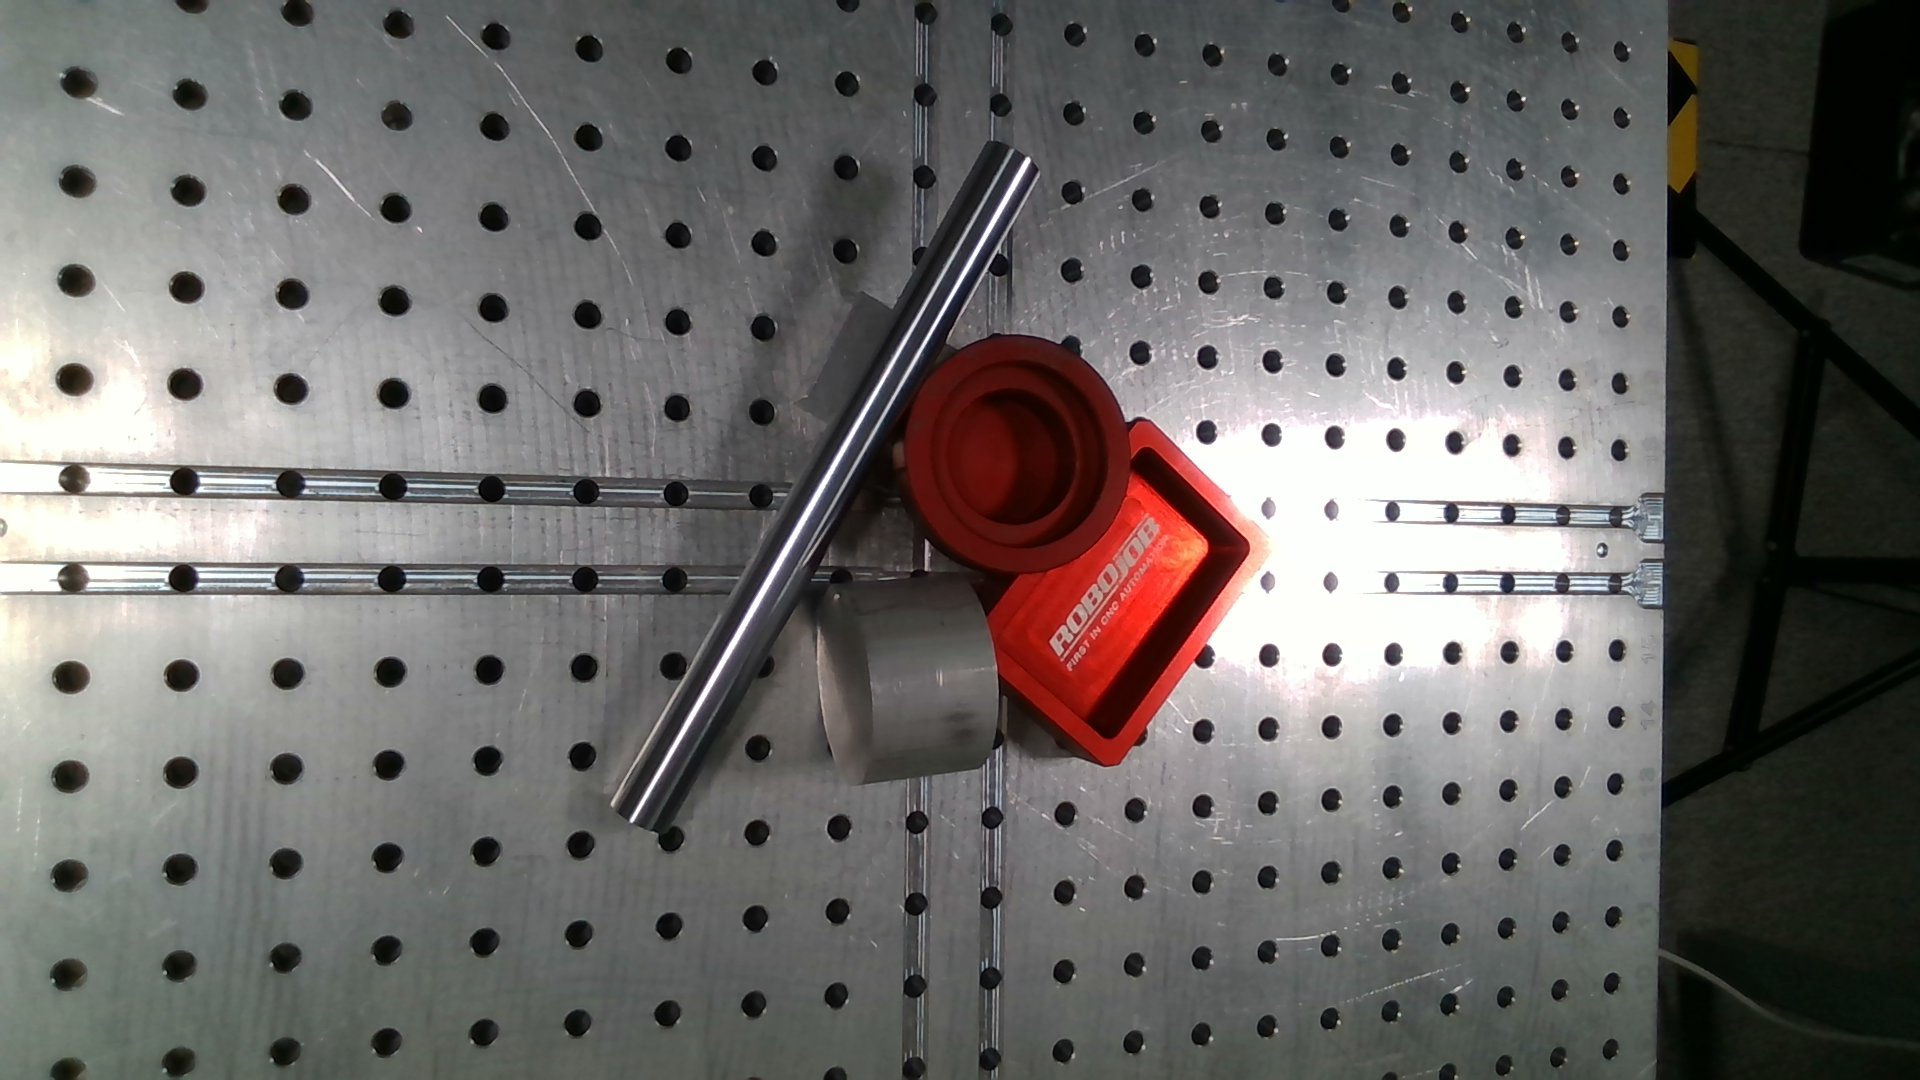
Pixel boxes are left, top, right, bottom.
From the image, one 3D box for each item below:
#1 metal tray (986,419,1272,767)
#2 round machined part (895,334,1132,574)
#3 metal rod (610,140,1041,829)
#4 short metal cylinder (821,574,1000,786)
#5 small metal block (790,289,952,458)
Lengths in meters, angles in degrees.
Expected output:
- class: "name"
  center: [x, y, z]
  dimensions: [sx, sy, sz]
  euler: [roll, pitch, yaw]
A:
- class: "metal tray"
  center: [0.068, 0.023, 0.610]
  dimensions: [0.090, 0.030, 0.130]
  euler: [42, 77, -16]
- class: "round machined part"
  center: [0.019, -0.034, 0.578]
  dimensions: [0.098, 0.042, 0.098]
  euler: [1, 88, -20]
- class: "metal rod"
  center: [-0.053, -0.022, 0.547]
  dimensions: [0.025, 0.025, 0.300]
  euler: [30, 89, -18]
- class: "short metal cylinder"
  center: [-0.022, 0.055, 0.550]
  dimensions: [0.050, 0.080, 0.080]
  euler: [-4, 92, -20]
- class: "small metal block"
  center: [-0.035, -0.068, 0.575]
  dimensions: [0.050, 0.025, 0.050]
  euler: [30, 80, -18]
